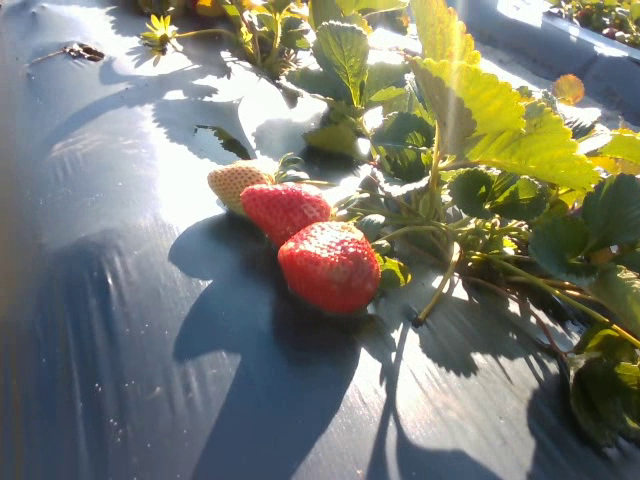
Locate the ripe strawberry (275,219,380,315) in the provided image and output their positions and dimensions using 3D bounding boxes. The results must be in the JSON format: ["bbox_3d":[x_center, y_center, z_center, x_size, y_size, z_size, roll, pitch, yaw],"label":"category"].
[{"bbox_3d":[0.002,0.012,0.290,0.056,0.052,0.067,2,-5,23],"label":"ripe strawberry"}]

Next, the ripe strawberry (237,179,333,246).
[{"bbox_3d":[-0.018,-0.016,0.332,0.061,0.051,0.044,21,-45,-21],"label":"ripe strawberry"}]
